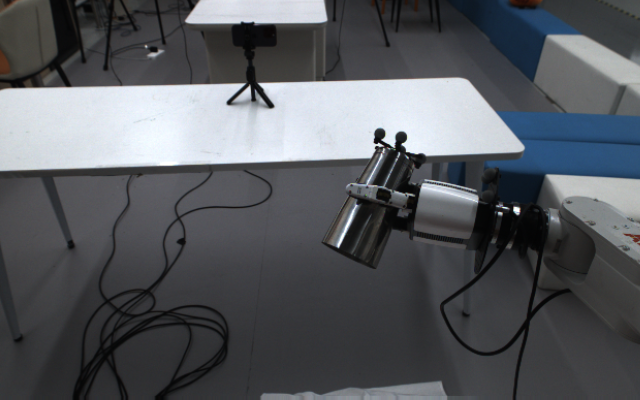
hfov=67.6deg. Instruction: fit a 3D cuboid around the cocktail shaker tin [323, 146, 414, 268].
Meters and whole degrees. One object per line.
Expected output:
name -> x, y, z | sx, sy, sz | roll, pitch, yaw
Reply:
cocktail shaker tin -> 0.082, 0.006, 0.738 | 0.093, 0.093, 0.170 | 21, 81, 25
